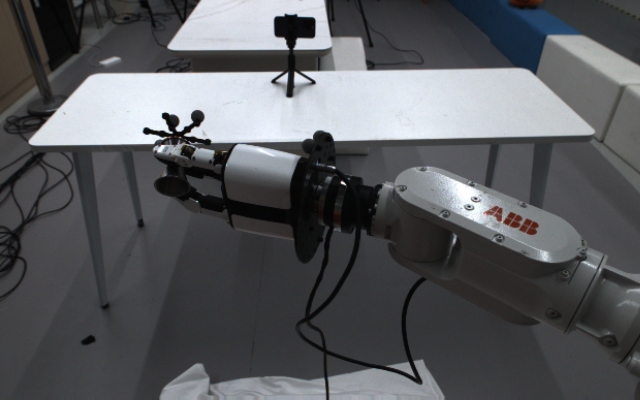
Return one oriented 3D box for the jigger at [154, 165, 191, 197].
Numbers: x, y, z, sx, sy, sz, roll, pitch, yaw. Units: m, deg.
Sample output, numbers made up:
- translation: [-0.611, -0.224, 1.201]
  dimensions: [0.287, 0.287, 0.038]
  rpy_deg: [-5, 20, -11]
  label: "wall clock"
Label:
- translation: [-0.188, -0.044, 0.630]
  dimensions: [0.043, 0.043, 0.071]
  rpy_deg: [-3, 57, -7]
  label: "jigger"
